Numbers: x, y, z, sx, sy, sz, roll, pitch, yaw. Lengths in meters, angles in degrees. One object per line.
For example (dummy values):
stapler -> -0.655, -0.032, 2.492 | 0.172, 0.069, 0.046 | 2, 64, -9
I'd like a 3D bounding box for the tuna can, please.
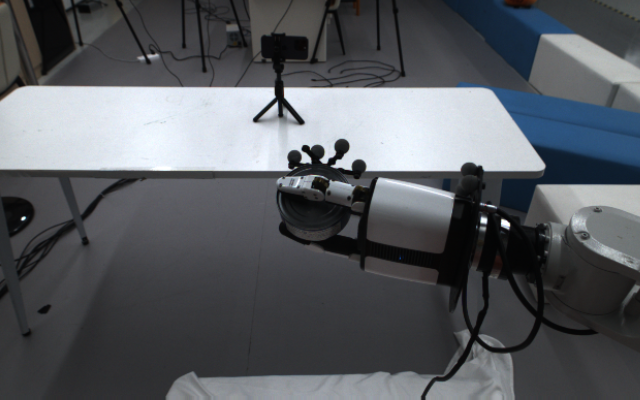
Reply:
tuna can -> -0.005, -0.002, 0.553 | 0.085, 0.034, 0.085 | -2, 56, 3
